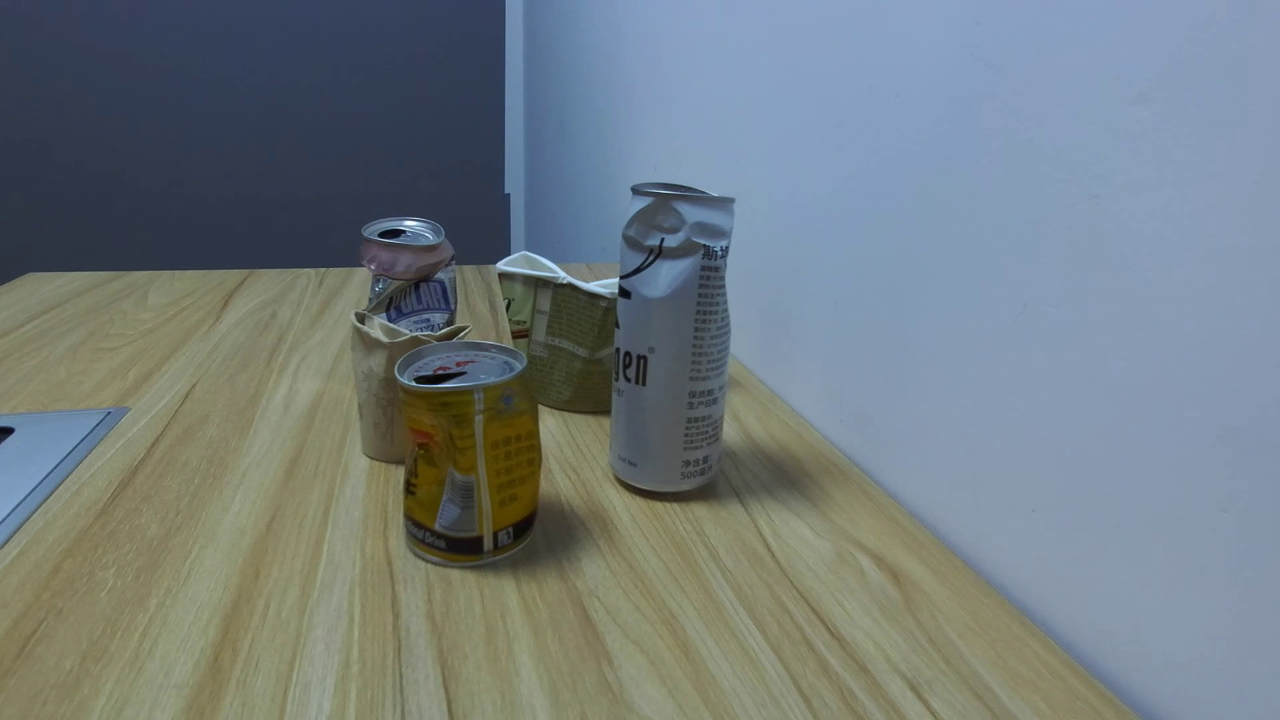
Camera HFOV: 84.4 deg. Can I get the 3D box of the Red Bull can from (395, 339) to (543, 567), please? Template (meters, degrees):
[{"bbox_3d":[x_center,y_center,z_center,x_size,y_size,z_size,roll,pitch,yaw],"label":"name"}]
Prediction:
[{"bbox_3d":[-0.084,0.043,0.343,0.072,0.092,0.072,2,21,-1],"label":"Red Bull can"}]

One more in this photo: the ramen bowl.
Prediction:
[{"bbox_3d":[-0.041,-0.027,0.533,0.128,0.093,0.112,14,25,30],"label":"ramen bowl"}]

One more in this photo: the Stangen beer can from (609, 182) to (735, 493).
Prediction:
[{"bbox_3d":[0.019,-0.010,0.390,0.066,0.166,0.066,11,22,21],"label":"Stangen beer can"}]

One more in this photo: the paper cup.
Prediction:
[{"bbox_3d":[-0.136,0.015,0.421,0.058,0.083,0.066,-14,27,-41],"label":"paper cup"}]

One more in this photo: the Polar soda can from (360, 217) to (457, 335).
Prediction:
[{"bbox_3d":[-0.168,-0.035,0.509,0.066,0.121,0.071,6,18,-1],"label":"Polar soda can"}]
